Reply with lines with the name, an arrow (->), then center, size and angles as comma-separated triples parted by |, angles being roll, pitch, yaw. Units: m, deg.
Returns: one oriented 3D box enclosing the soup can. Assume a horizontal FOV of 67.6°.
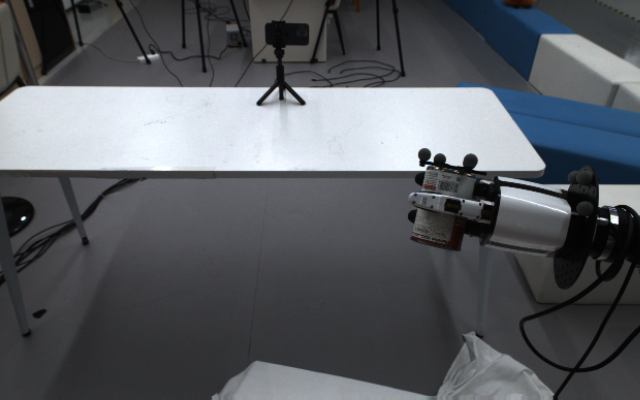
soup can -> 0.167, 0.010, 0.649 | 0.067, 0.101, 0.067 | 12, 2, -1
